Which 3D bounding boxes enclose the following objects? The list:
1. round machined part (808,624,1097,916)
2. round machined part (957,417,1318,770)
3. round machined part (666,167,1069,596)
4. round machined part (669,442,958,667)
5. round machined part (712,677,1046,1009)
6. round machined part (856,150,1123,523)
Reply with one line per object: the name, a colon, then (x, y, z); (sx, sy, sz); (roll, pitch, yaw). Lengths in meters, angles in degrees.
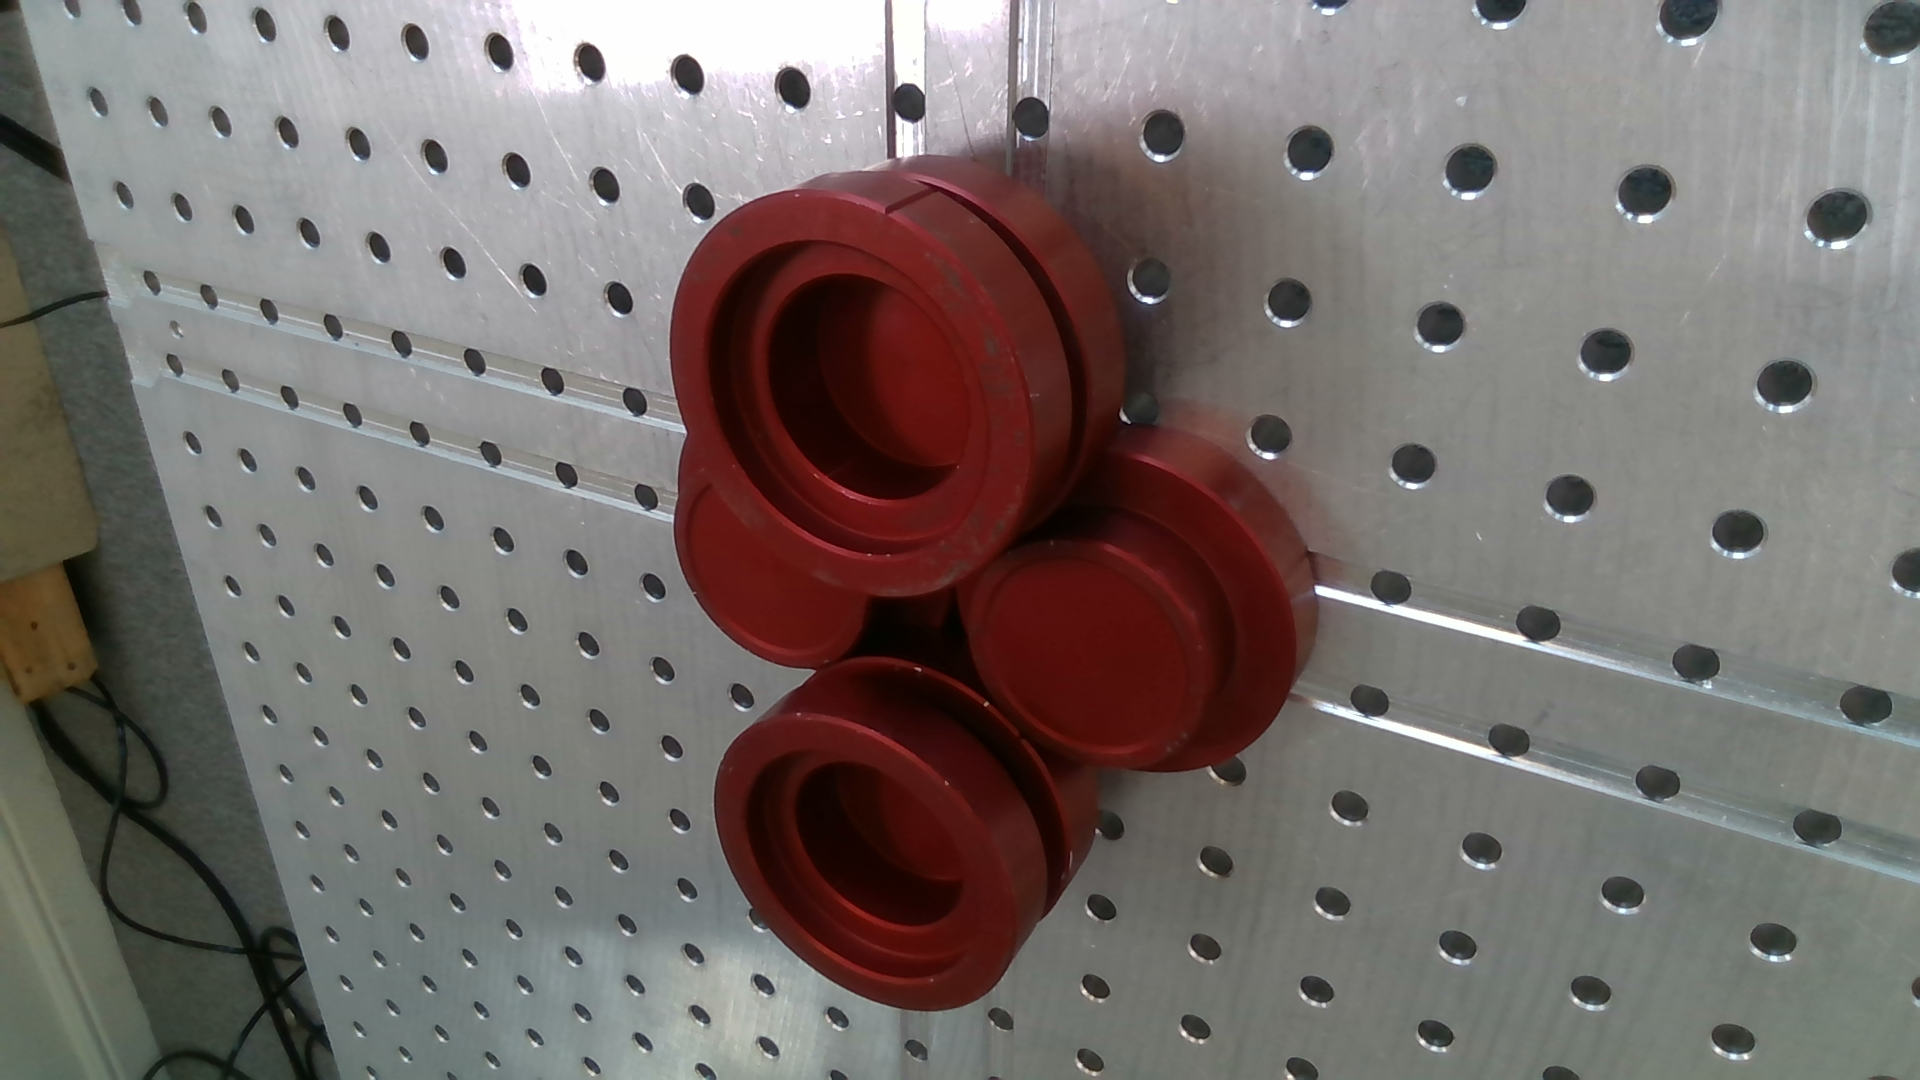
round machined part: (-0.003, 0.069, 0.419); (0.098, 0.042, 0.098); (14, 122, 25)
round machined part: (0.041, 0.020, 0.366); (0.098, 0.042, 0.098); (14, 122, 25)
round machined part: (-0.018, -0.039, 0.328); (0.098, 0.042, 0.098); (14, 122, 25)
round machined part: (-0.046, -0.002, 0.407); (0.098, 0.042, 0.098); (14, 122, 25)
round machined part: (-0.019, 0.082, 0.395); (0.098, 0.042, 0.098); (14, 122, 25)
round machined part: (-0.003, -0.051, 0.354); (0.098, 0.042, 0.098); (14, 122, 25)
